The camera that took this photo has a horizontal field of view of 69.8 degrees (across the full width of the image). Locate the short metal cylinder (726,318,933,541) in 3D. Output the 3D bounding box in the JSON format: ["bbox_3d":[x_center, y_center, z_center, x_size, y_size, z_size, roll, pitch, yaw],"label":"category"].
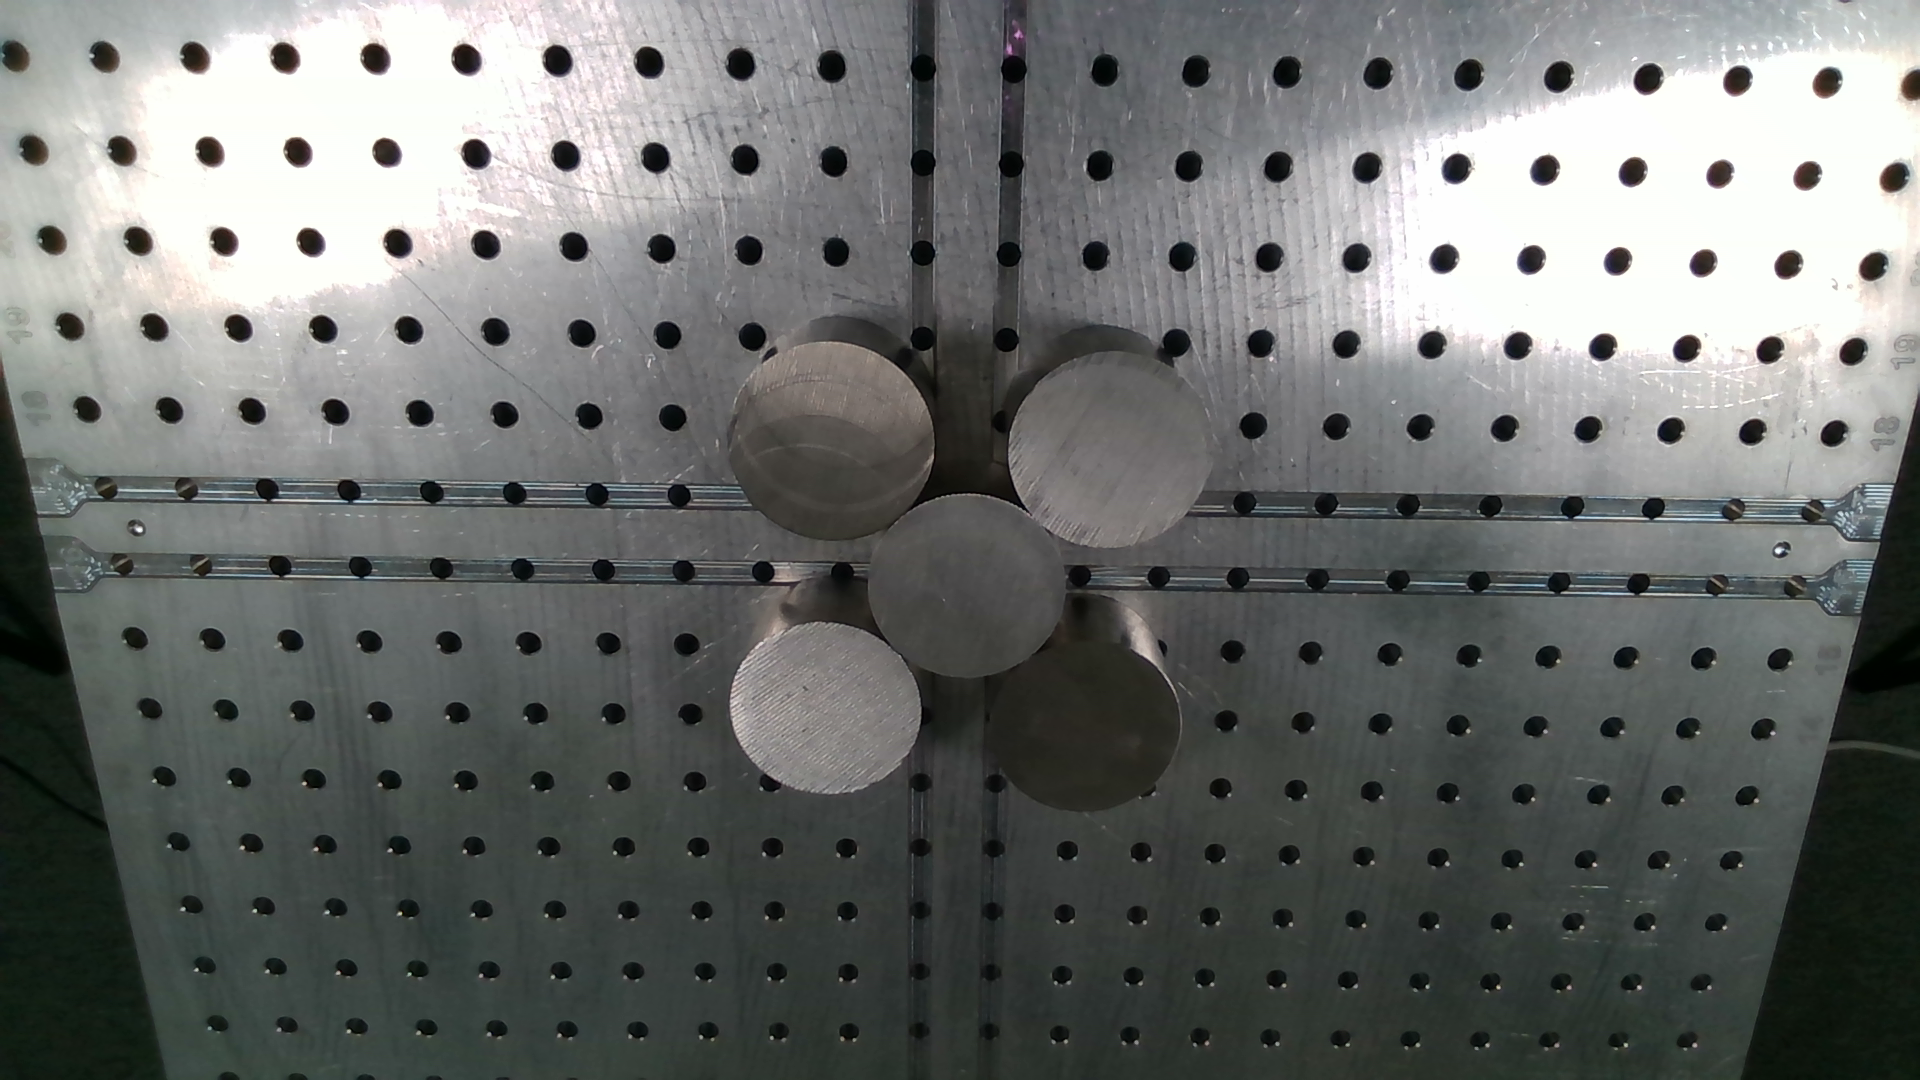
[{"bbox_3d":[-0.050,-0.046,0.556,0.080,0.050,0.080,0,110,0],"label":"short metal cylinder"}]

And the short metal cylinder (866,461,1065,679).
[{"bbox_3d":[0.002,0.011,0.577,0.080,0.050,0.080,0,110,0],"label":"short metal cylinder"}]

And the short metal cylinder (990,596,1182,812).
[{"bbox_3d":[0.052,0.070,0.597,0.080,0.050,0.080,0,110,0],"label":"short metal cylinder"}]

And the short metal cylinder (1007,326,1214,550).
[{"bbox_3d":[0.059,-0.042,0.557,0.080,0.050,0.080,0,110,0],"label":"short metal cylinder"}]

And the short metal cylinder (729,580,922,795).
[{"bbox_3d":[-0.056,0.063,0.596,0.080,0.050,0.080,0,110,0],"label":"short metal cylinder"}]
